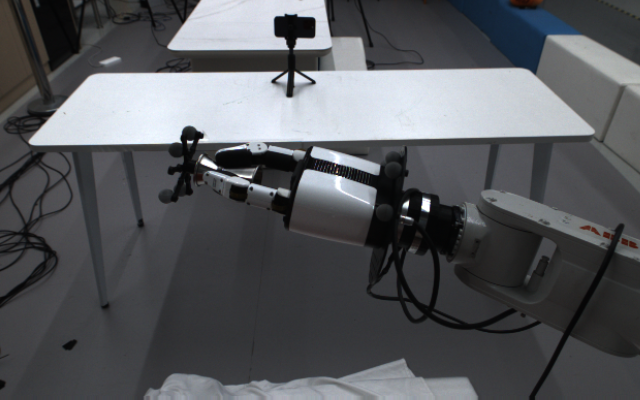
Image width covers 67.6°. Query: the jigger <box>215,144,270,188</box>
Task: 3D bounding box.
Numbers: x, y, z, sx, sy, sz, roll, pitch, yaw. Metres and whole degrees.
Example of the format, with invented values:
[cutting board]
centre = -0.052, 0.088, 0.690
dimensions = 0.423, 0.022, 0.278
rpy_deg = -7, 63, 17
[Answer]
[jigger]
centre = -0.098, -0.029, 0.554
dimensions = 0.071, 0.043, 0.043
rpy_deg = 14, 36, 5
